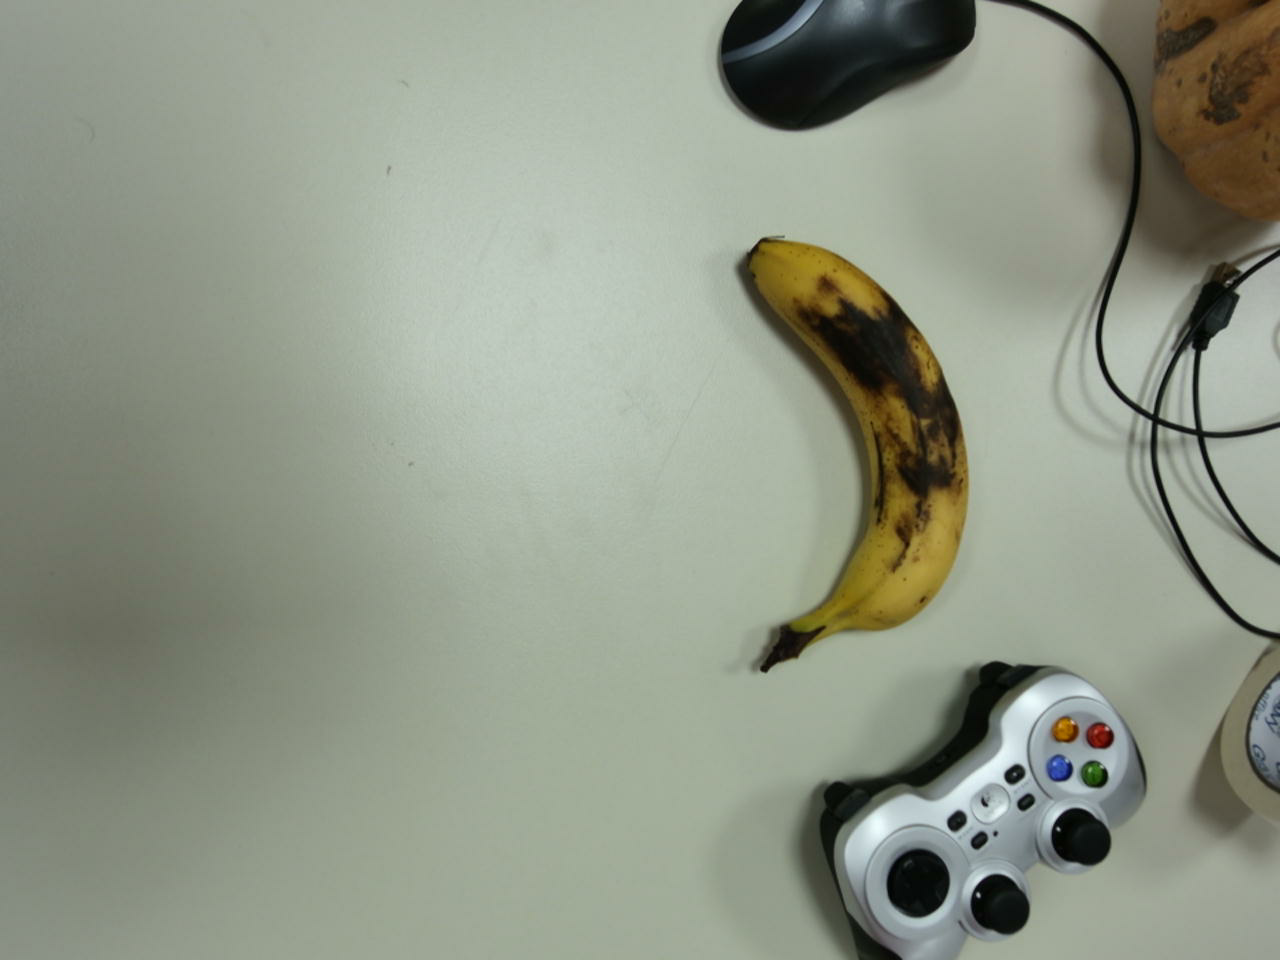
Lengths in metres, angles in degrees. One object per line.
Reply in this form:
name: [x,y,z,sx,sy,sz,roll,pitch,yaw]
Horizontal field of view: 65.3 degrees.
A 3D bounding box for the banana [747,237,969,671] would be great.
banana: [0.096,-0.014,0.437,0.094,0.039,0.187,-2,90,-11]
